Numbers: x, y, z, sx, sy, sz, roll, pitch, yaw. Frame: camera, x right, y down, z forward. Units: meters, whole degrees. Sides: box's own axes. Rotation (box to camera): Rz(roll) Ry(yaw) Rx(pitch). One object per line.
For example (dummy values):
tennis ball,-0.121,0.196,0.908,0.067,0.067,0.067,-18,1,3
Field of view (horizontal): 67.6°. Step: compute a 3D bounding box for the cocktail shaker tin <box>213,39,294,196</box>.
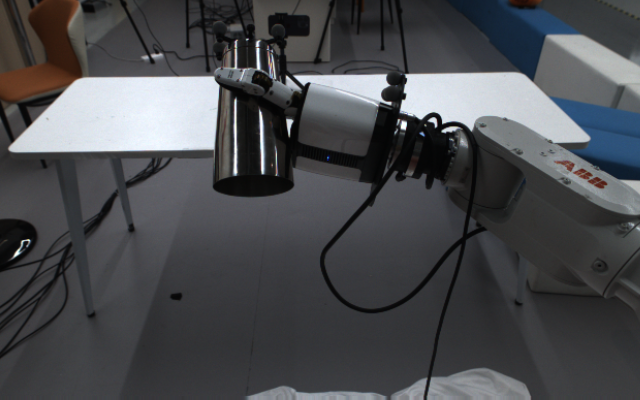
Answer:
cocktail shaker tin,-0.080,-0.096,0.569,0.093,0.093,0.170,-3,76,-7
